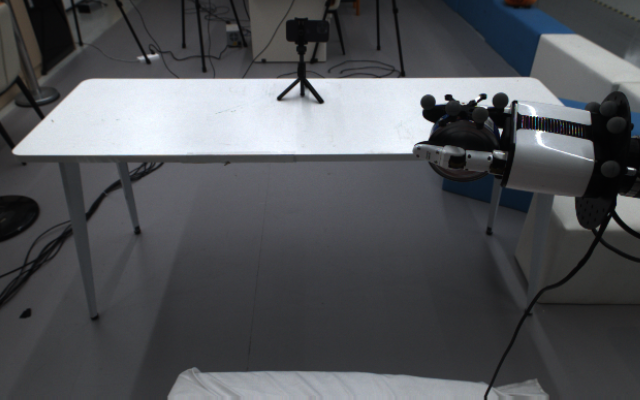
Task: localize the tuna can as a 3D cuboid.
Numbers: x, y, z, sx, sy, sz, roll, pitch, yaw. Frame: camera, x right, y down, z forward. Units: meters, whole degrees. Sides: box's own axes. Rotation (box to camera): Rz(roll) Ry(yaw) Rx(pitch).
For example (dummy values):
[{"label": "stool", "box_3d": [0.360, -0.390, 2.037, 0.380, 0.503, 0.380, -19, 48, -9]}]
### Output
[{"label": "tuna can", "box_3d": [0.176, -0.068, 0.592, 0.085, 0.085, 0.034, 12, 39, 13]}]
